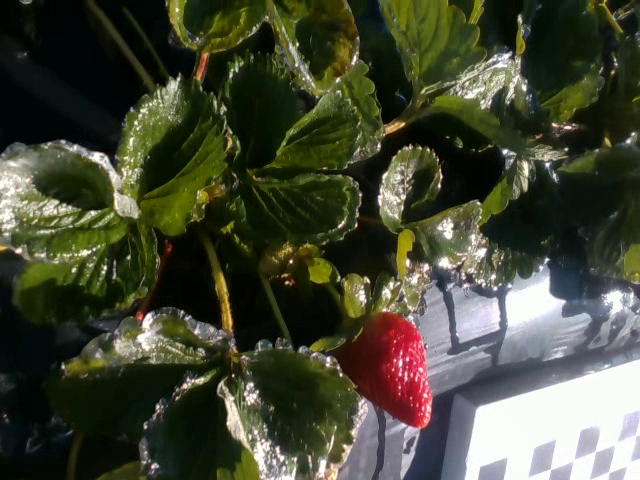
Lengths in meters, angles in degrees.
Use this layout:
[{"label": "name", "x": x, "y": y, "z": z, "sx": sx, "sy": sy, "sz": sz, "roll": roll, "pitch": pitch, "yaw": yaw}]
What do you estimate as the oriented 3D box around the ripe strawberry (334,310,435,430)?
[{"label": "ripe strawberry", "x": 0.037, "y": 0.066, "z": 0.317, "sx": 0.043, "sy": 0.061, "sz": 0.046, "roll": -20, "pitch": -14, "yaw": -25}]
